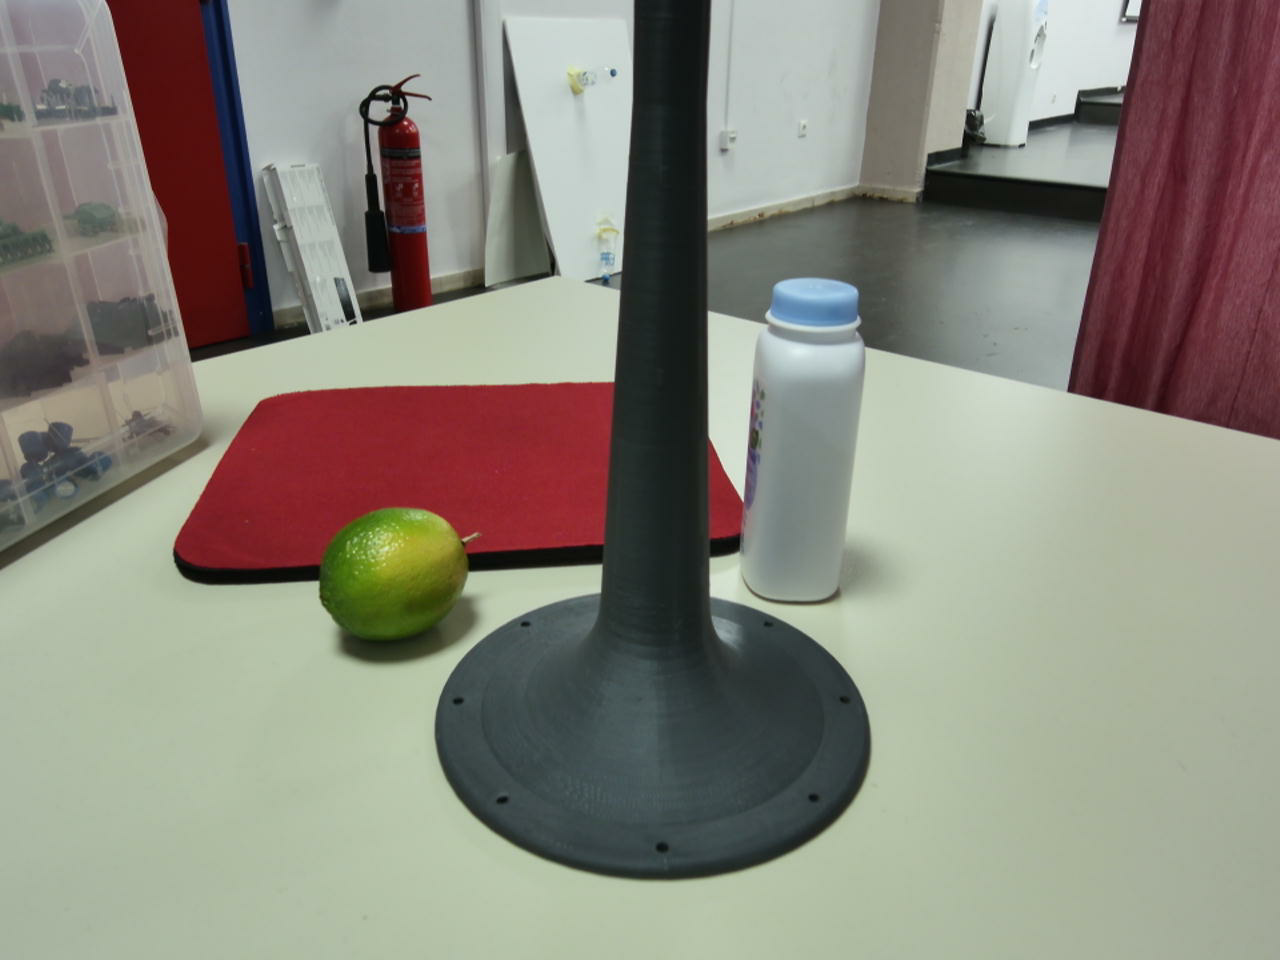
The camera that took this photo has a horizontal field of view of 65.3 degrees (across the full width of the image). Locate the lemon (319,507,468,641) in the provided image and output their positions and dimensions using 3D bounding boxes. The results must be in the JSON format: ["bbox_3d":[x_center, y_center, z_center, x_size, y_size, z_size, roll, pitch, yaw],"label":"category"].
[{"bbox_3d":[-0.096,0.036,0.388,0.055,0.050,0.054,1,23,-1],"label":"lemon"}]
